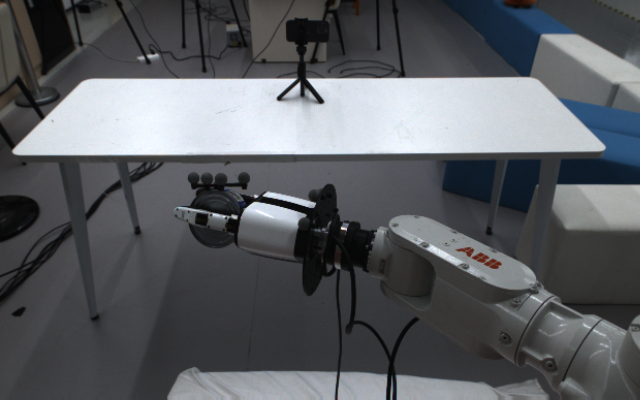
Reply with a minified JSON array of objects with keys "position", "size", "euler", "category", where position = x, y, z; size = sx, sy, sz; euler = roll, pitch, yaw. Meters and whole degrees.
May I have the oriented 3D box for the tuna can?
[{"position":[-0.147,0.027,0.710],"size":[0.085,0.085,0.034],"euler":[11,7,12],"category":"tuna can"}]
